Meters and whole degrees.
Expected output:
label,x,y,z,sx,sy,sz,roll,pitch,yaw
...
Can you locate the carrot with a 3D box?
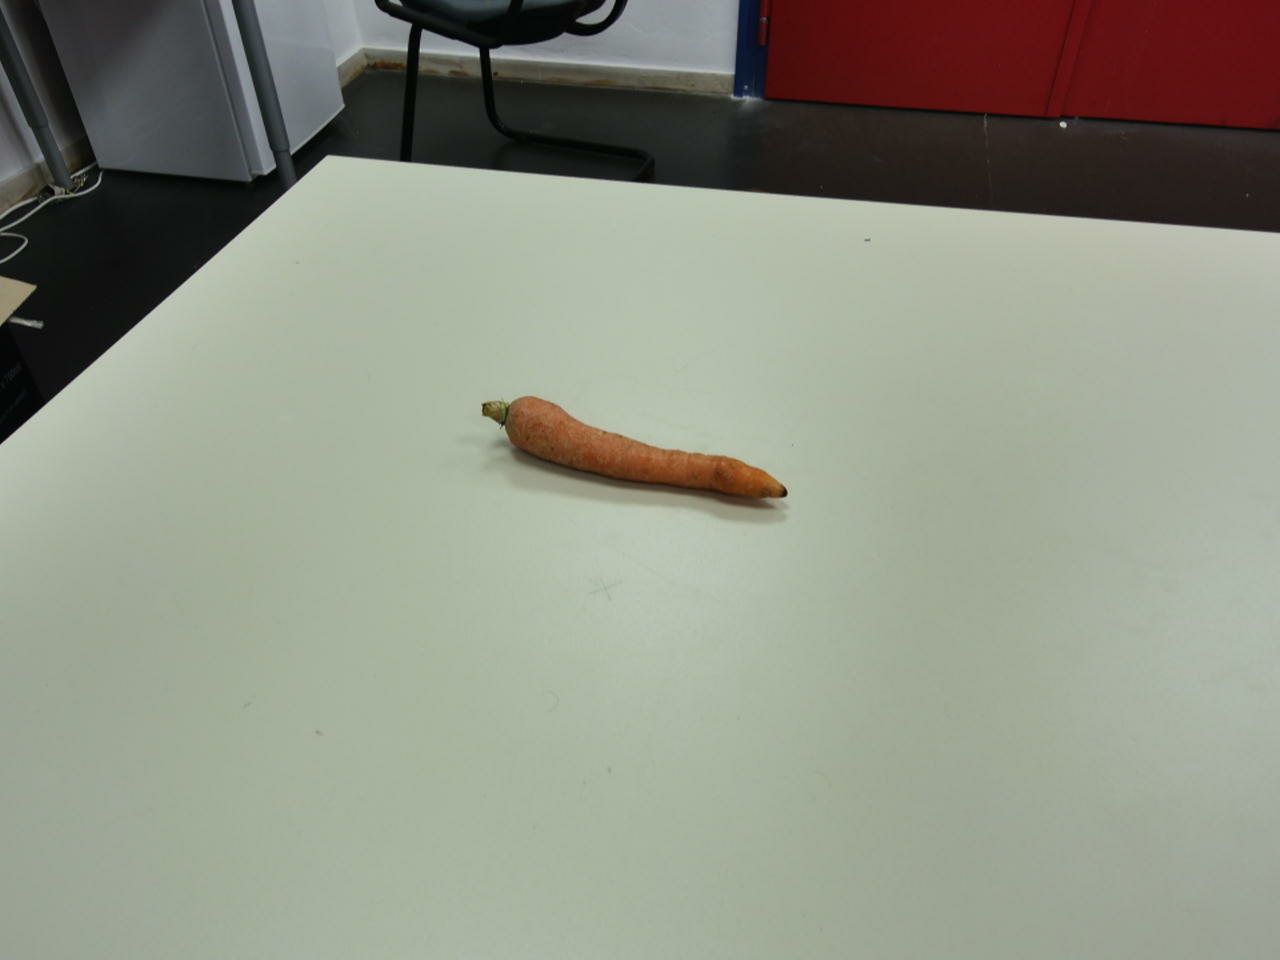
label,x,y,z,sx,sy,sz,roll,pitch,yaw
carrot,-0.006,-0.016,0.532,0.173,0.032,0.030,14,41,17
